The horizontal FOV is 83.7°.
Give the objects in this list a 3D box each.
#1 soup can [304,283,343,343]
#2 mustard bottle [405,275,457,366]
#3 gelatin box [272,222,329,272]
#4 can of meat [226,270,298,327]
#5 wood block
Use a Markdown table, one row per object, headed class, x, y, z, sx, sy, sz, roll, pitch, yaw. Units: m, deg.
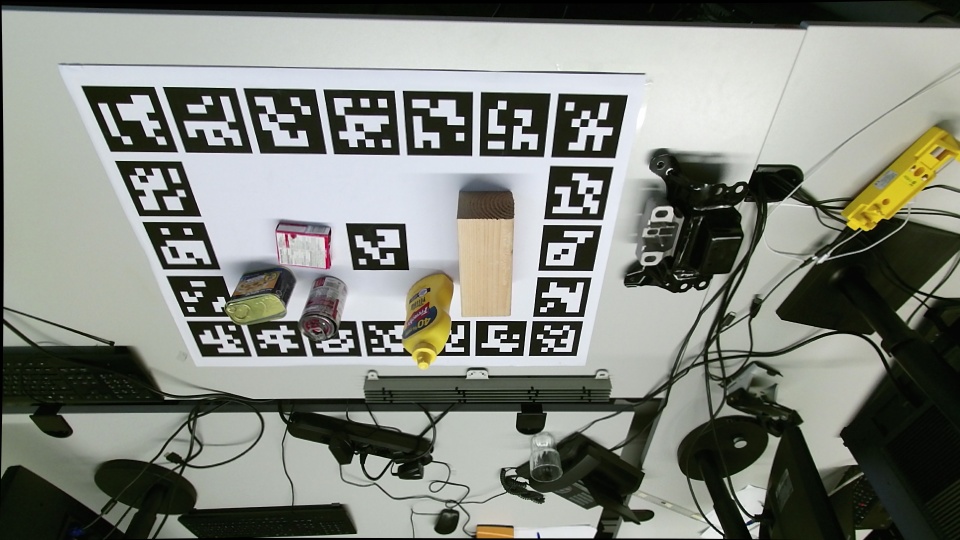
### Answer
| class | x | y | z | sx | sy | sz | roll | pitch | yaw |
| --- | --- | --- | --- | --- | --- | --- | --- | --- | --- |
| soup can | -0.285 | 0.079 | 0.953 | 0.068 | 0.101 | 0.068 | -1 | 125 | -2 |
| mustard bottle | -0.090 | 0.090 | 0.929 | 0.096 | 0.190 | 0.058 | -21 | 125 | 15 |
| gelatin box | -0.306 | -0.039 | 0.915 | 0.090 | 0.030 | 0.073 | 7 | 124 | -10 |
| can of meat | -0.383 | 0.050 | 0.951 | 0.102 | 0.083 | 0.058 | -11 | 125 | 9 |
| wood block | 0.009 | -0.022 | 0.906 | 0.091 | 0.089 | 0.206 | 1 | 131 | -1 |
